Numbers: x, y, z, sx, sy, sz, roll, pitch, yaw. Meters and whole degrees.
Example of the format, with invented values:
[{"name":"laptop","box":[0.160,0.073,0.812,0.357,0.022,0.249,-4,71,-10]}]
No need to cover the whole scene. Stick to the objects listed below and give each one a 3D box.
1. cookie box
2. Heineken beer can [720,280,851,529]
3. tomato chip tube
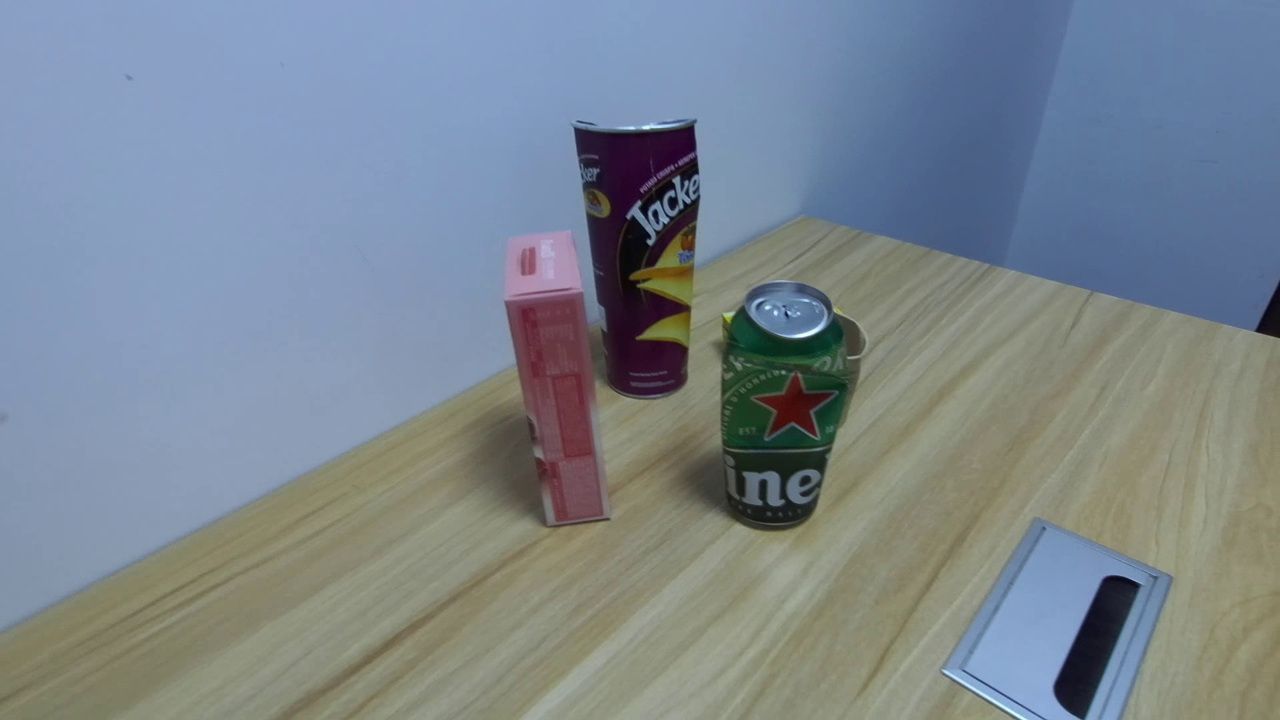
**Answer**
[{"name":"cookie box","box":[-0.054,0.016,0.494,0.048,0.185,0.096,-7,32,-4]},{"name":"Heineken beer can","box":[0.092,0.035,0.467,0.068,0.168,0.069,26,44,34]},{"name":"tomato chip tube","box":[0.003,-0.084,0.603,0.076,0.235,0.077,-29,40,-35]}]
